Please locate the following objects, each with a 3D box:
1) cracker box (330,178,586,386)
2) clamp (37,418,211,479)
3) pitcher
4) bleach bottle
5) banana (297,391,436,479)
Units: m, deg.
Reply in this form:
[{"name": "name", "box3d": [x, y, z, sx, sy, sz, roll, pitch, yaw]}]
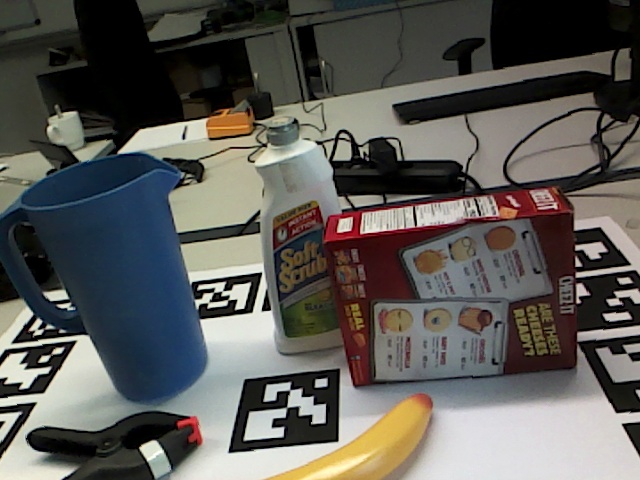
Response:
[{"name": "cracker box", "box3d": [0.129, 0.042, 0.591, 0.214, 0.164, 0.072, -10, 21, 9]}, {"name": "clamp", "box3d": [-0.184, 0.204, 0.570, 0.165, 0.036, 0.122, -14, 22, -10]}, {"name": "pitcher", "box3d": [-0.214, 0.040, 0.643, 0.188, 0.242, 0.134, -15, 23, -12]}, {"name": "bleach bottle", "box3d": [-0.026, 0.010, 0.666, 0.103, 0.250, 0.068, -10, 23, 6]}, {"name": "banana", "box3d": [0.033, 0.186, 0.527, 0.196, 0.039, 0.075, -24, 26, -25]}]
